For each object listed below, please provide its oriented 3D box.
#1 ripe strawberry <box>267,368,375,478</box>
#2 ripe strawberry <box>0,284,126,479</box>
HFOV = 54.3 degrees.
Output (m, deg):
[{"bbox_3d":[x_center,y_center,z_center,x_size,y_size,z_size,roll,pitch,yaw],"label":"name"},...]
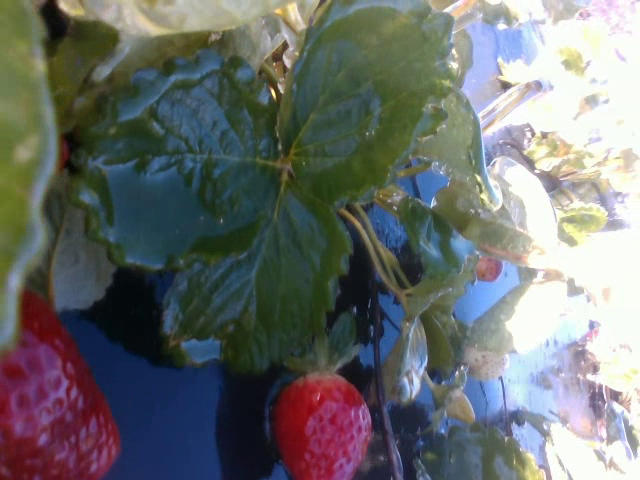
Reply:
[{"bbox_3d":[0.003,0.063,0.187,0.040,0.047,0.039,-4,-29,26],"label":"ripe strawberry"},{"bbox_3d":[-0.053,0.036,0.116,0.040,0.044,0.056,7,-35,31],"label":"ripe strawberry"}]
